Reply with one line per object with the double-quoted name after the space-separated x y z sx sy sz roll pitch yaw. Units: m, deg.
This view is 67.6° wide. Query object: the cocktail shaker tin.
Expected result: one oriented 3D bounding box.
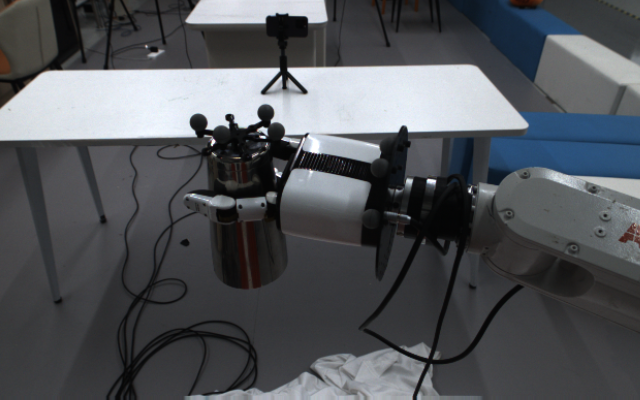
-0.080 0.006 0.546 0.093 0.170 0.093 1 39 -1 "cocktail shaker tin"
